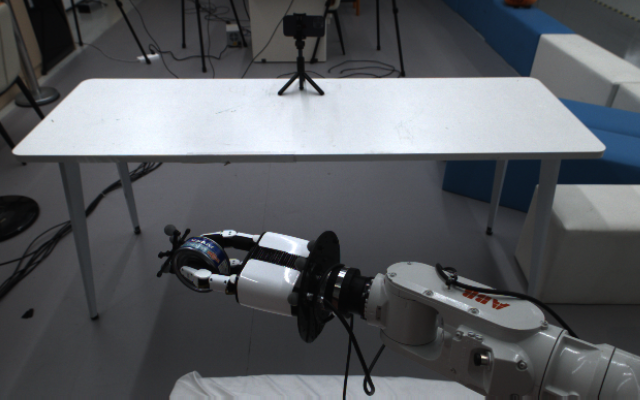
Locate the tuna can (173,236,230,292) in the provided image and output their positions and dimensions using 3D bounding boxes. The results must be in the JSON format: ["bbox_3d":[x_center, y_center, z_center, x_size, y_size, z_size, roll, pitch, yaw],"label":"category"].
[{"bbox_3d":[-0.181,0.099,0.742,0.085,0.085,0.034,12,31,13],"label":"tuna can"}]
